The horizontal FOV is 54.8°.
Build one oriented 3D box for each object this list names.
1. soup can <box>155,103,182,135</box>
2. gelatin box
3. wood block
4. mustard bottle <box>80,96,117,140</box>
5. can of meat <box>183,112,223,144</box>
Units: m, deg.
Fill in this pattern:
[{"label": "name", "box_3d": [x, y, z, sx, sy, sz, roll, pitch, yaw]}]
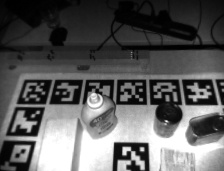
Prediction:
[{"label": "soup can", "box_3d": [0.158, 0.092, 0.605, 0.068, 0.103, 0.067, -2, 59, 5]}, {"label": "gelatin box", "box_3d": [0.178, 0.212, 0.577, 0.089, 0.030, 0.073, 7, 61, 12]}, {"label": "wood block", "box_3d": [-0.136, 0.200, 0.578, 0.091, 0.090, 0.205, 1, 54, 4]}, {"label": "mustard bottle", "box_3d": [-0.039, 0.085, 0.588, 0.096, 0.193, 0.058, -23, 58, -10]}, {"label": "can of meat", "box_3d": [0.256, 0.120, 0.603, 0.102, 0.084, 0.057, -12, 58, -5]}]
